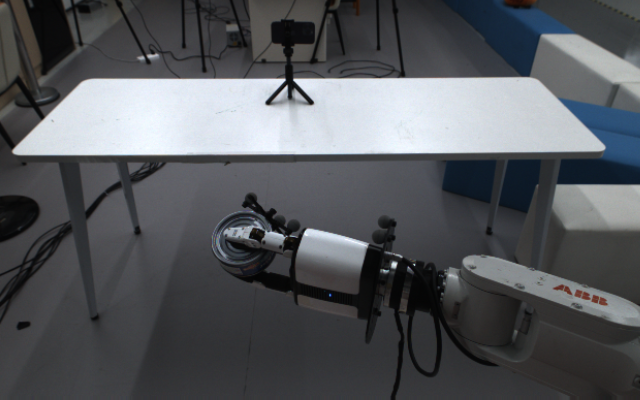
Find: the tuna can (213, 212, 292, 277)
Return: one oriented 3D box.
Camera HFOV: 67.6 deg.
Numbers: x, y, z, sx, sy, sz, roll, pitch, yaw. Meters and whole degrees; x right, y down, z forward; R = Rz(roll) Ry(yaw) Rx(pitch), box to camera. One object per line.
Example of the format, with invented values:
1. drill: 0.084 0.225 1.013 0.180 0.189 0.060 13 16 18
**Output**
1. tuna can: -0.099 0.064 0.650 0.085 0.034 0.085 -4 57 6
